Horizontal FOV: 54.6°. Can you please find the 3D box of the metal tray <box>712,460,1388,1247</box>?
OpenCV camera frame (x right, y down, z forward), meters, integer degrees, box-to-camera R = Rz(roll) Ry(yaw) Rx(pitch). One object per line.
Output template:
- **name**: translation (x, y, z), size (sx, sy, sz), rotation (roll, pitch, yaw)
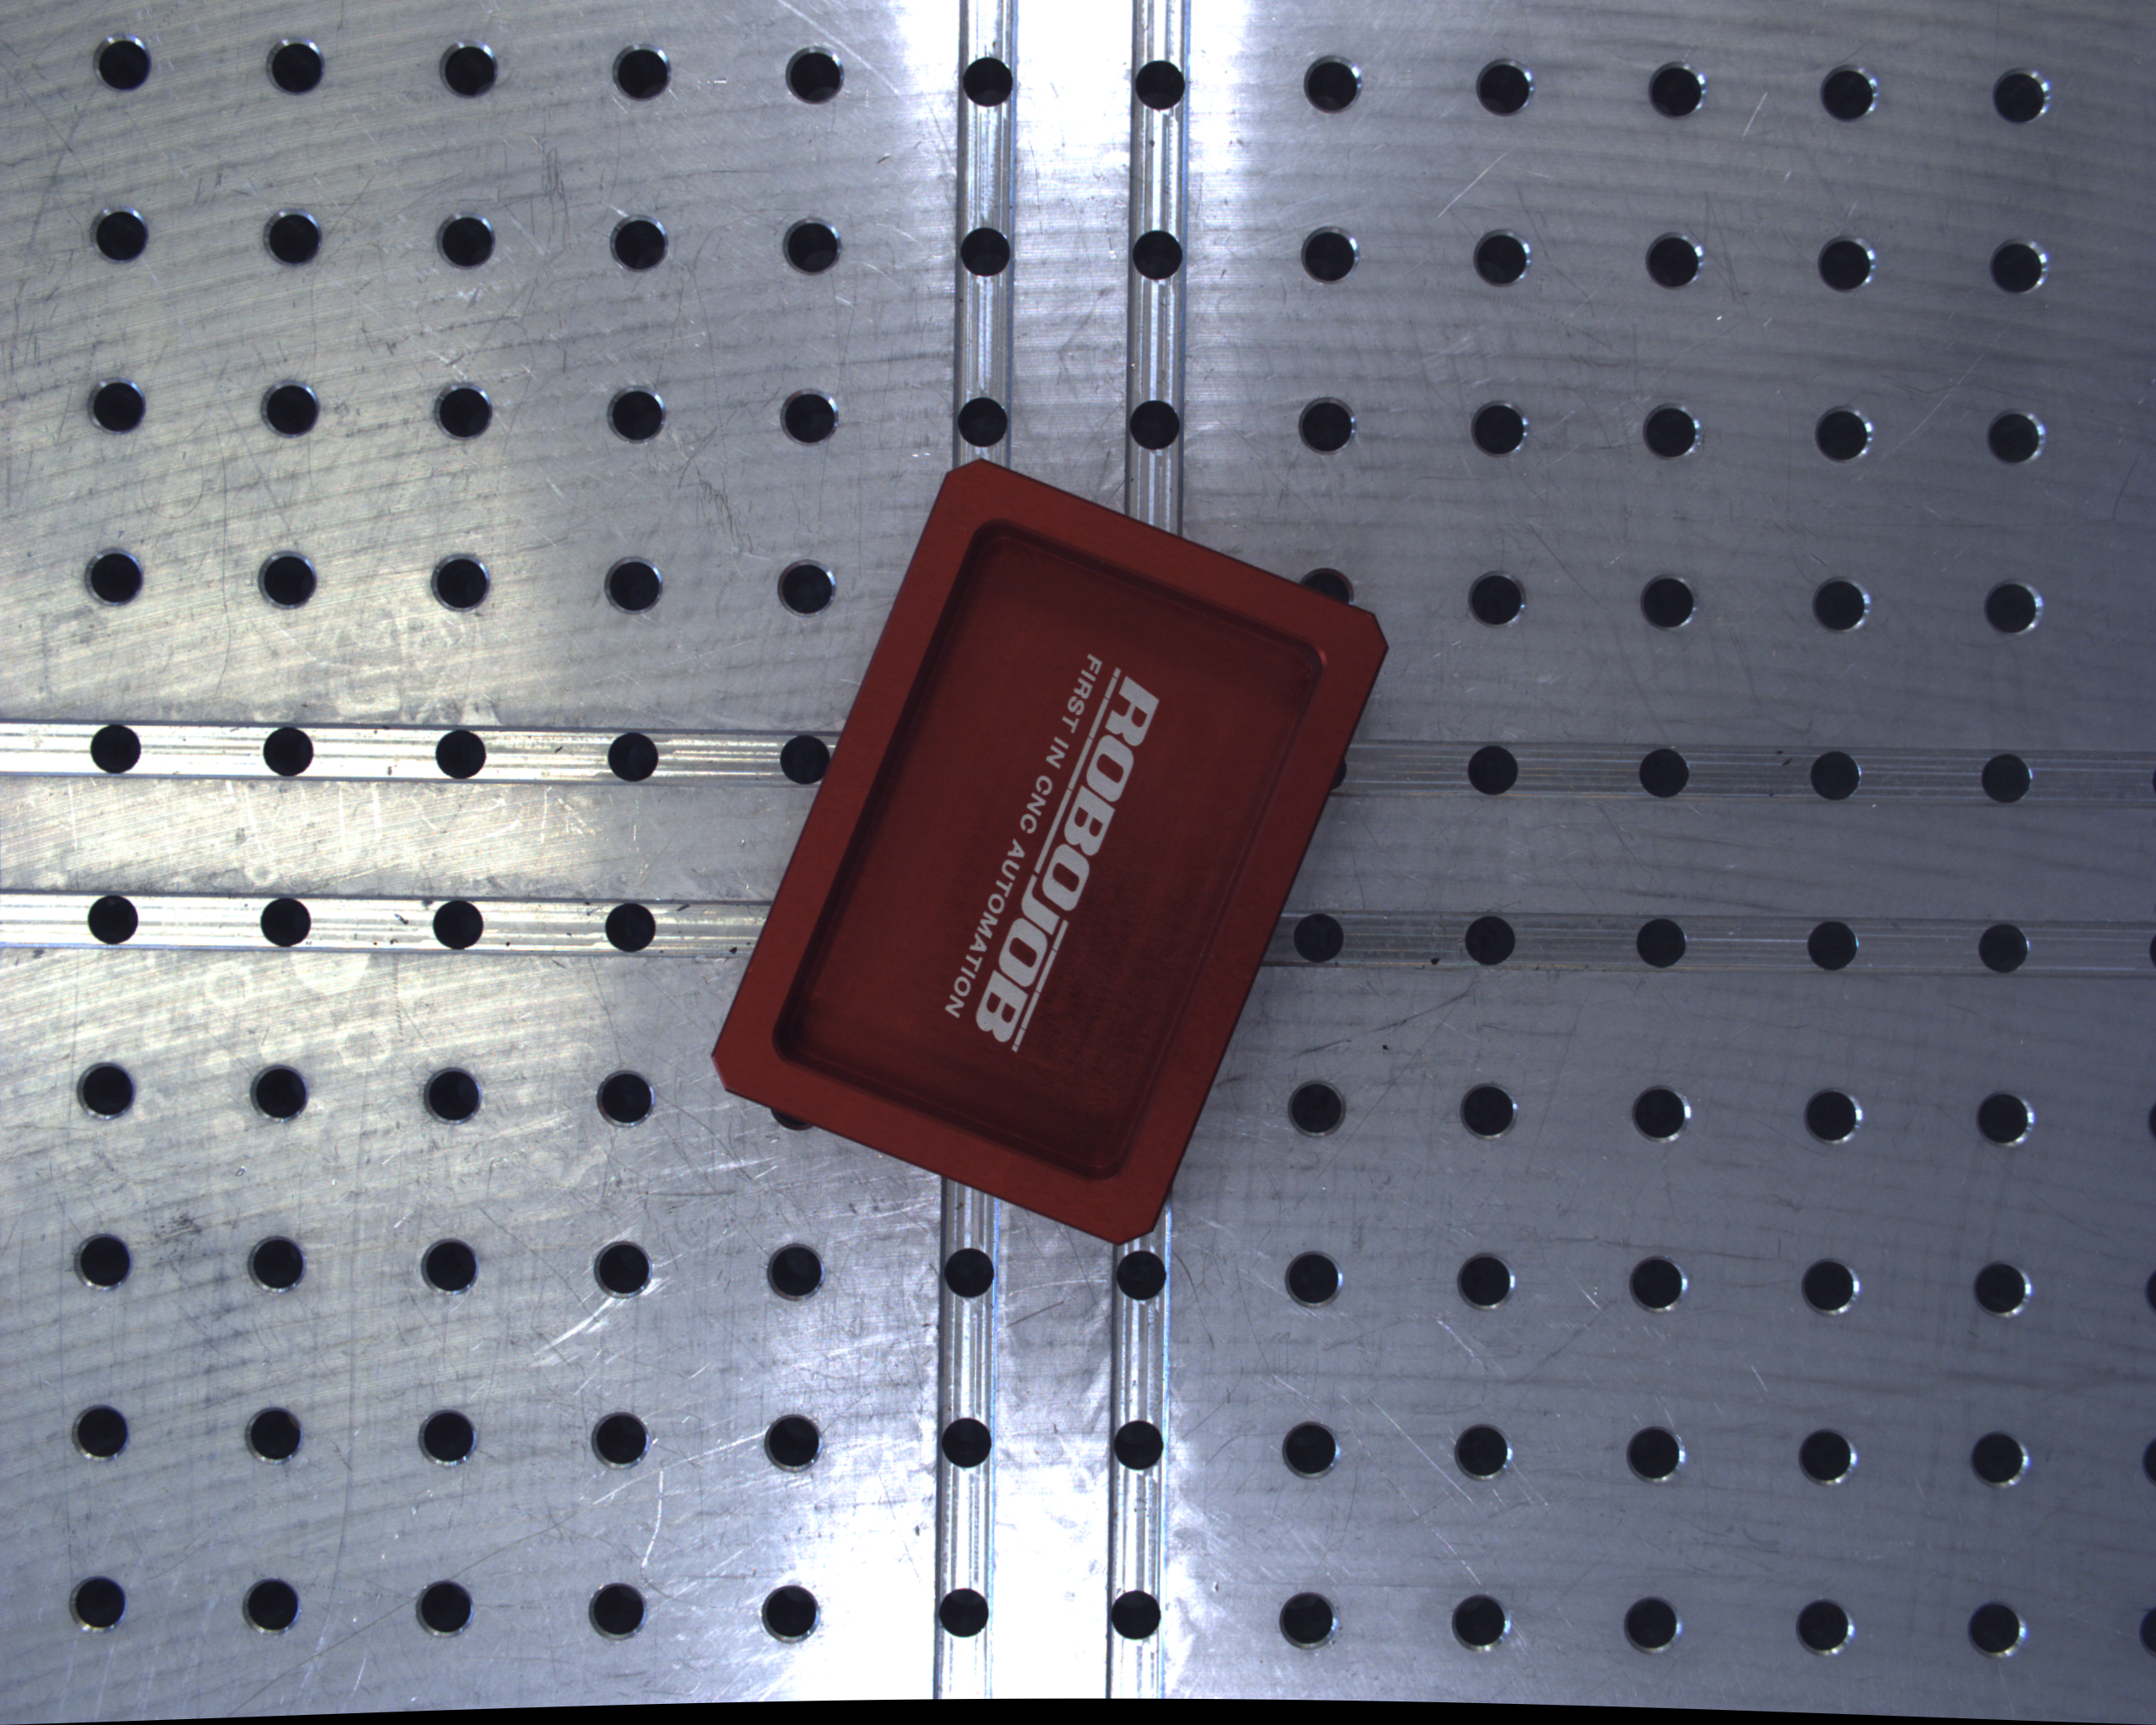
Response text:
- **metal tray**: translation (-0.005, -0.002, 0.411), size (0.090, 0.030, 0.129), rotation (22, 90, -1)
